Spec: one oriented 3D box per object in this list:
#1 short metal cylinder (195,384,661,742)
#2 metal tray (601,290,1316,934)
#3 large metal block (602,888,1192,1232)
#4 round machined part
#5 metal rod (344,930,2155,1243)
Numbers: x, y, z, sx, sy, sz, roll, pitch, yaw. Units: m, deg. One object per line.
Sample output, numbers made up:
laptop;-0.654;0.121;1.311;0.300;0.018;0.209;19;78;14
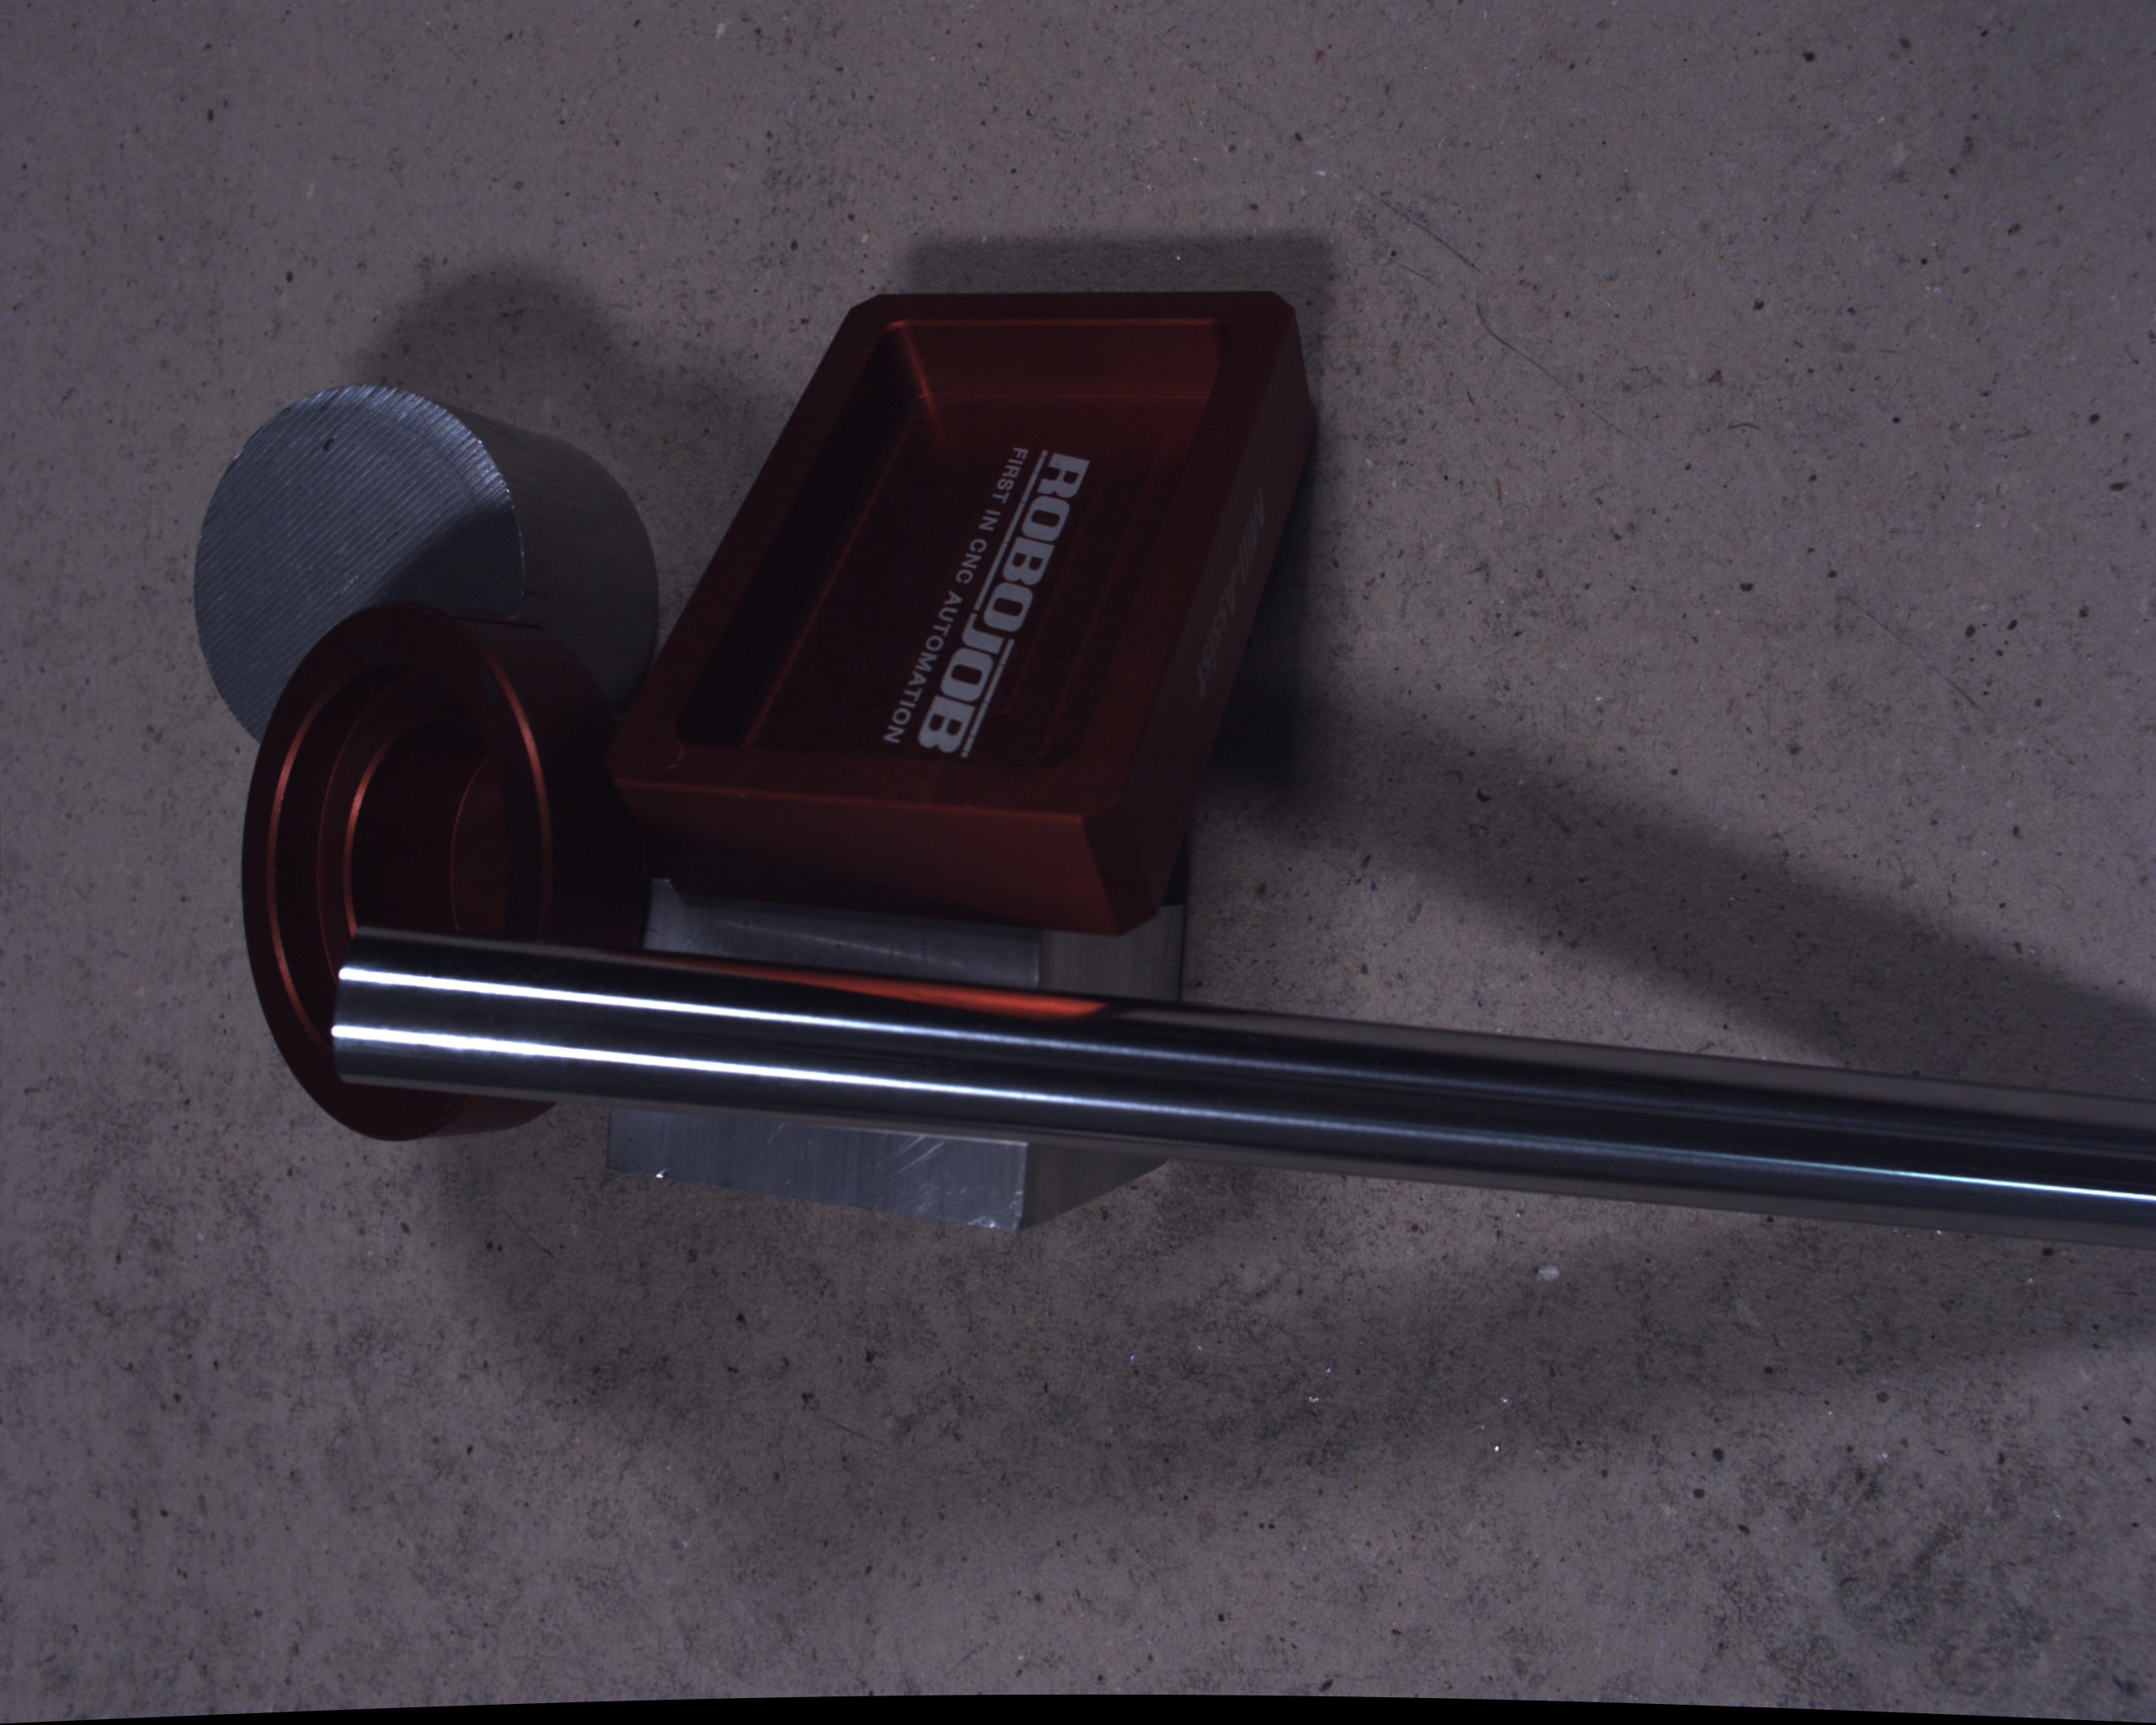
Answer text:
short metal cylinder;-0.137;-0.057;0.444;0.080;0.050;0.079;0;90;19
metal tray;-0.016;-0.051;0.372;0.090;0.030;0.130;5;52;19
large metal block;-0.030;0.032;0.390;0.080;0.080;0.050;5;92;19
round machined part;-0.112;0.002;0.393;0.098;0.042;0.097;-1;88;39
metal rod;0.041;0.037;0.333;0.302;0.025;0.025;5;92;-5
